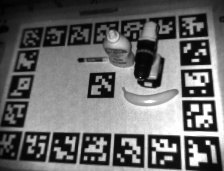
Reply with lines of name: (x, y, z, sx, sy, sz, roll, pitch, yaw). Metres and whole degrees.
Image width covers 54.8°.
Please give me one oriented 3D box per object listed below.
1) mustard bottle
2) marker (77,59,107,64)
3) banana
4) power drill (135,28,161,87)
mustard bottle: (0.022, -0.116, 0.749, 0.095, 0.193, 0.058, 10, 75, 15)
marker: (-0.080, -0.096, 0.858, 0.120, 0.020, 0.019, 1, 74, 13)
banana: (0.125, 0.051, 0.759, 0.196, 0.039, 0.074, 6, 76, 16)
power drill: (0.118, -0.061, 0.693, 0.057, 0.188, 0.184, 13, 73, 15)
